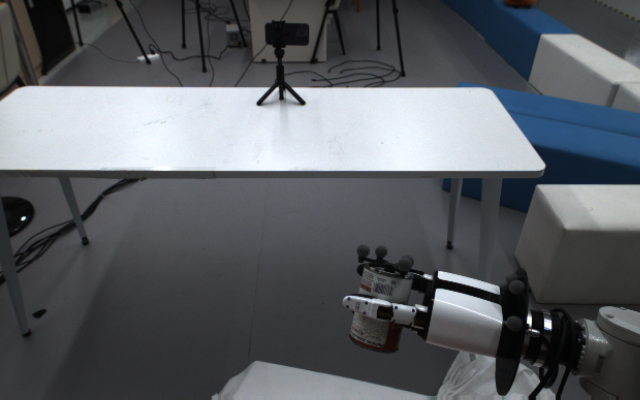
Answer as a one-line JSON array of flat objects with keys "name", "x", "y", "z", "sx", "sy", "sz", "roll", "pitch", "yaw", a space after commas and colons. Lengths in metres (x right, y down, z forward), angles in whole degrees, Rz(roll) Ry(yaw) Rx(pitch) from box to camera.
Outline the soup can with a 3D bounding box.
[{"name": "soup can", "x": 0.084, "y": 0.141, "z": 0.641, "sx": 0.067, "sy": 0.101, "sz": 0.067, "roll": 12, "pitch": 2, "yaw": 0}]
